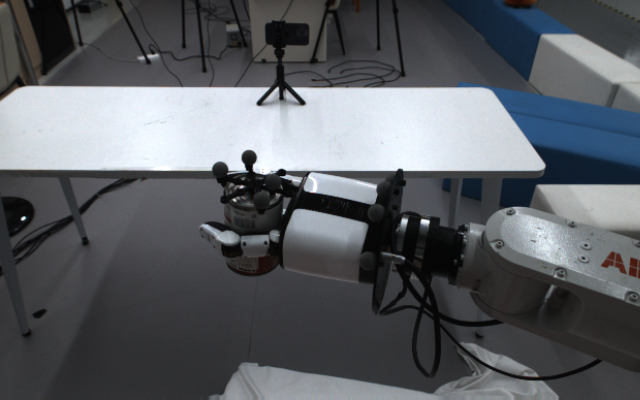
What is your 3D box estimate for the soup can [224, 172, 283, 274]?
[{"bbox_3d":[-0.075,0.029,0.559,0.067,0.101,0.067,5,37,-4],"label":"soup can"}]
